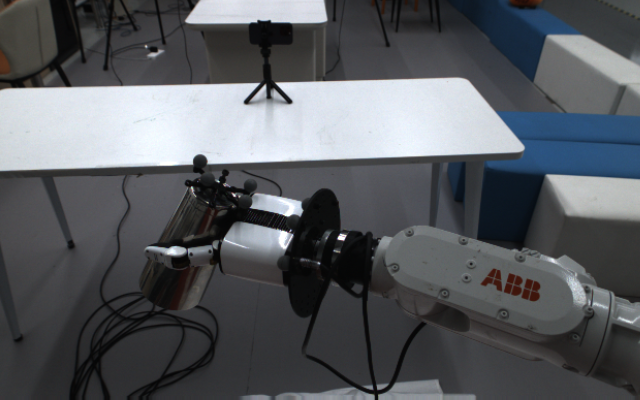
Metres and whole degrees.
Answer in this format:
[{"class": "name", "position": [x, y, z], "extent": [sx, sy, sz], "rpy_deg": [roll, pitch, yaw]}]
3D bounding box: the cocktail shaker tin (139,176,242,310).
[{"class": "cocktail shaker tin", "position": [-0.168, 0.052, 0.644], "extent": [0.093, 0.170, 0.093], "rpy_deg": [25, 29, -15]}]
